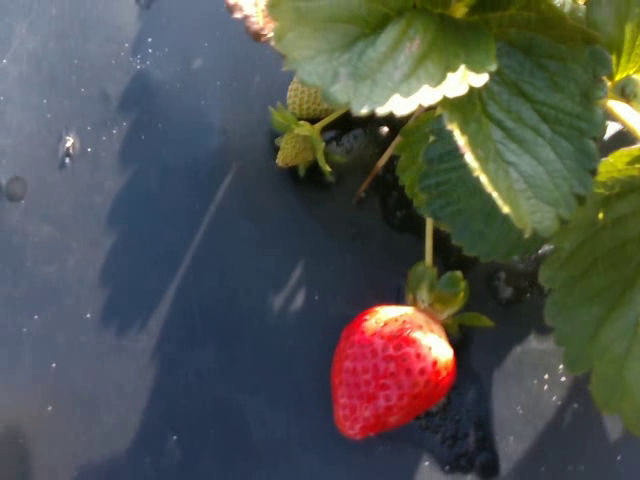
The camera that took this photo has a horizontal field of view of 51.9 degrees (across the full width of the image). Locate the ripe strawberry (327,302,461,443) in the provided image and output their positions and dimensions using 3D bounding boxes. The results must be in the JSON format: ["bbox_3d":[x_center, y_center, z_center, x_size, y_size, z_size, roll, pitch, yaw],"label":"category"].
[{"bbox_3d":[0.016,0.037,0.163,0.030,0.044,0.033,32,-12,51],"label":"ripe strawberry"}]
